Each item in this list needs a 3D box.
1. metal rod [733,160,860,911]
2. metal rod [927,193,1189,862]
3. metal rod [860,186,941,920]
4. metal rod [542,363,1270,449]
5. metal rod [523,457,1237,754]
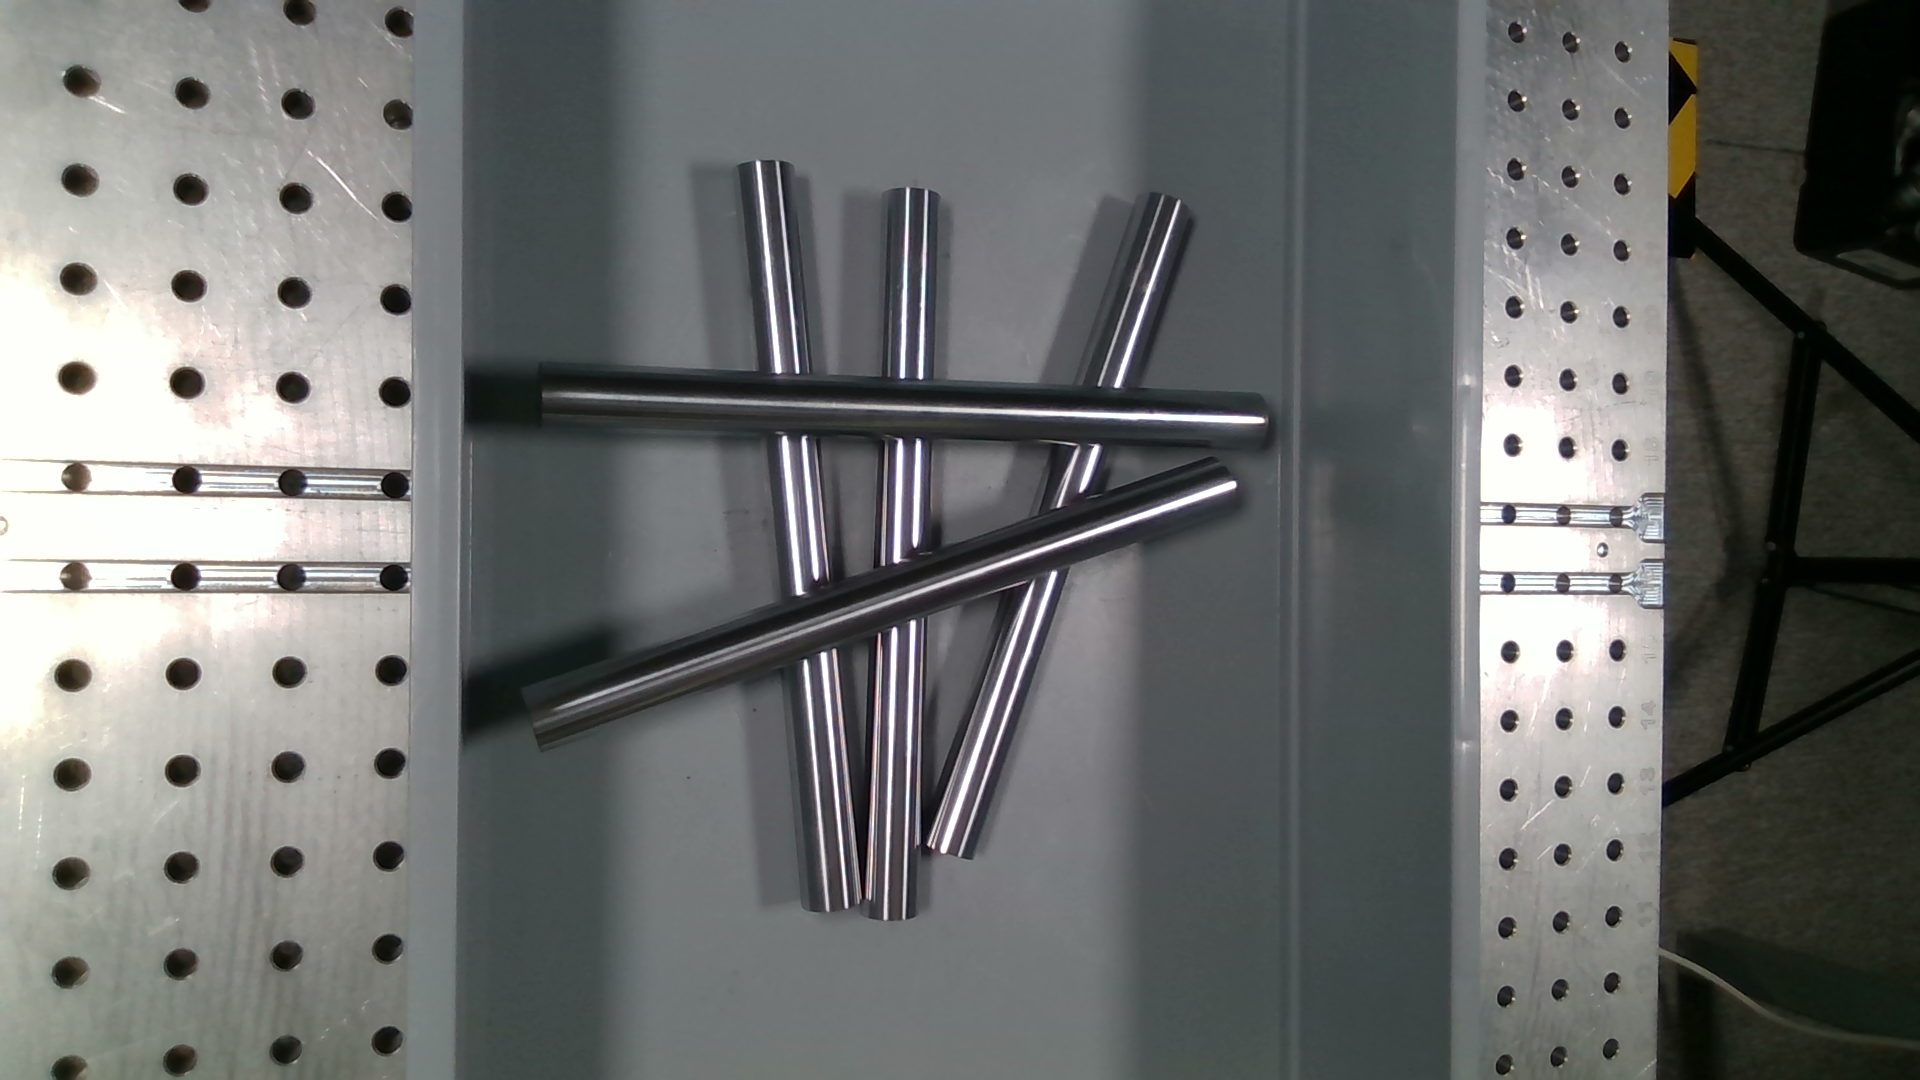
[{"bbox_3d":[-0.066,-0.001,0.560,0.025,0.025,0.300,-6,92,-20],"label":"metal rod"},{"bbox_3d":[0.043,-0.009,0.600,0.025,0.025,0.300,21,83,-19],"label":"metal rod"},{"bbox_3d":[-0.025,0.005,0.575,0.025,0.025,0.300,2,90,-20],"label":"metal rod"},{"bbox_3d":[-0.011,-0.052,0.553,0.300,0.025,0.025,0,90,-20],"label":"metal rod"},{"bbox_3d":[-0.021,0.021,0.550,0.300,0.025,0.025,-19,96,-19],"label":"metal rod"}]
